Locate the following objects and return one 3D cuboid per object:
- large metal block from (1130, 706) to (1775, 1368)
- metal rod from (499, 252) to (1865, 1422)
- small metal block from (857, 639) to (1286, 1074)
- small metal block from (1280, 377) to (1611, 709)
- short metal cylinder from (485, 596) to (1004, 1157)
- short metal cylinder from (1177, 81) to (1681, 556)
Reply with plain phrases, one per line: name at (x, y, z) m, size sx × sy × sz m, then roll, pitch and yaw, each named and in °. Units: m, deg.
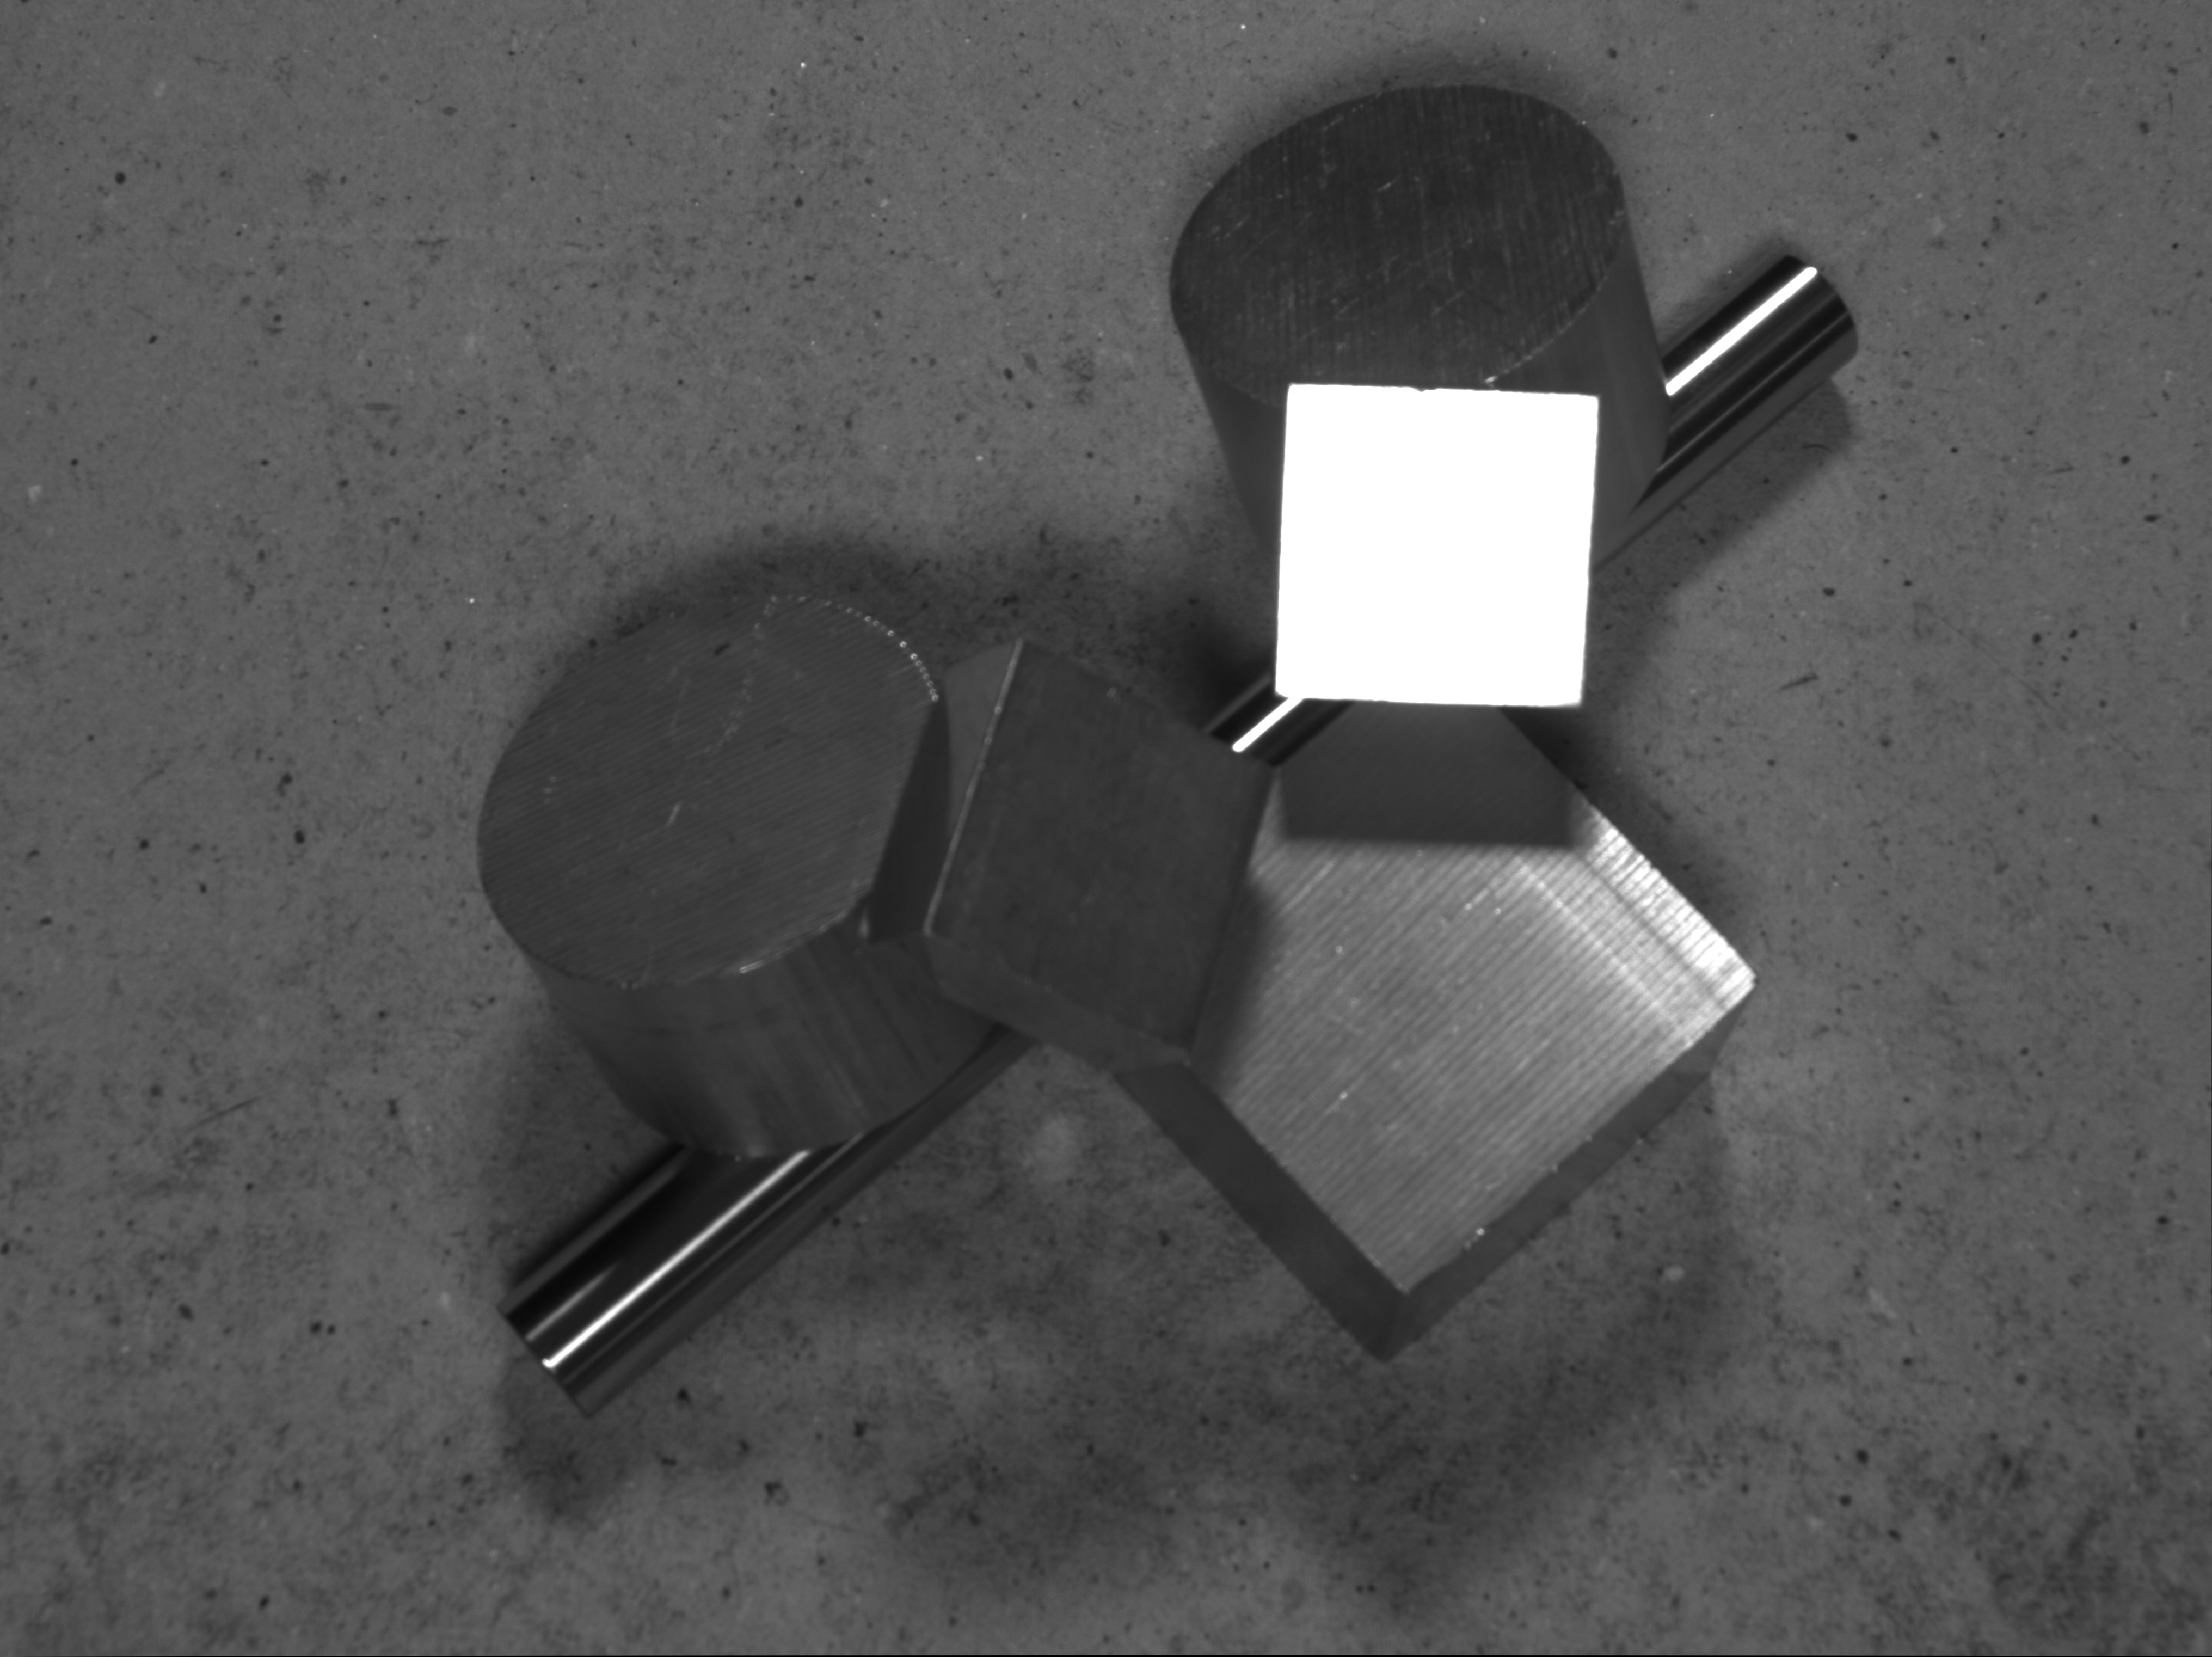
large metal block at (0.052, 0.030, 0.619) m, size 0.080 × 0.050 × 0.080 m, roll -39°, pitch 75°, yaw -13°
metal rod at (0.019, -0.004, 0.646) m, size 0.300 × 0.025 × 0.025 m, roll -40°, pitch 74°, yaw -13°
small metal block at (-0.005, 0.005, 0.577) m, size 0.050 × 0.025 × 0.050 m, roll 26°, pitch 69°, yaw -25°
small metal block at (0.054, -0.047, 0.596) m, size 0.050 × 0.025 × 0.050 m, roll 2°, pitch 100°, yaw 1°
short metal cylinder at (-0.057, 0.008, 0.614) m, size 0.080 × 0.050 × 0.080 m, roll -10°, pitch 50°, yaw 12°
short metal cylinder at (0.058, -0.086, 0.648) m, size 0.080 × 0.050 × 0.080 m, roll -10°, pitch 50°, yaw 12°
